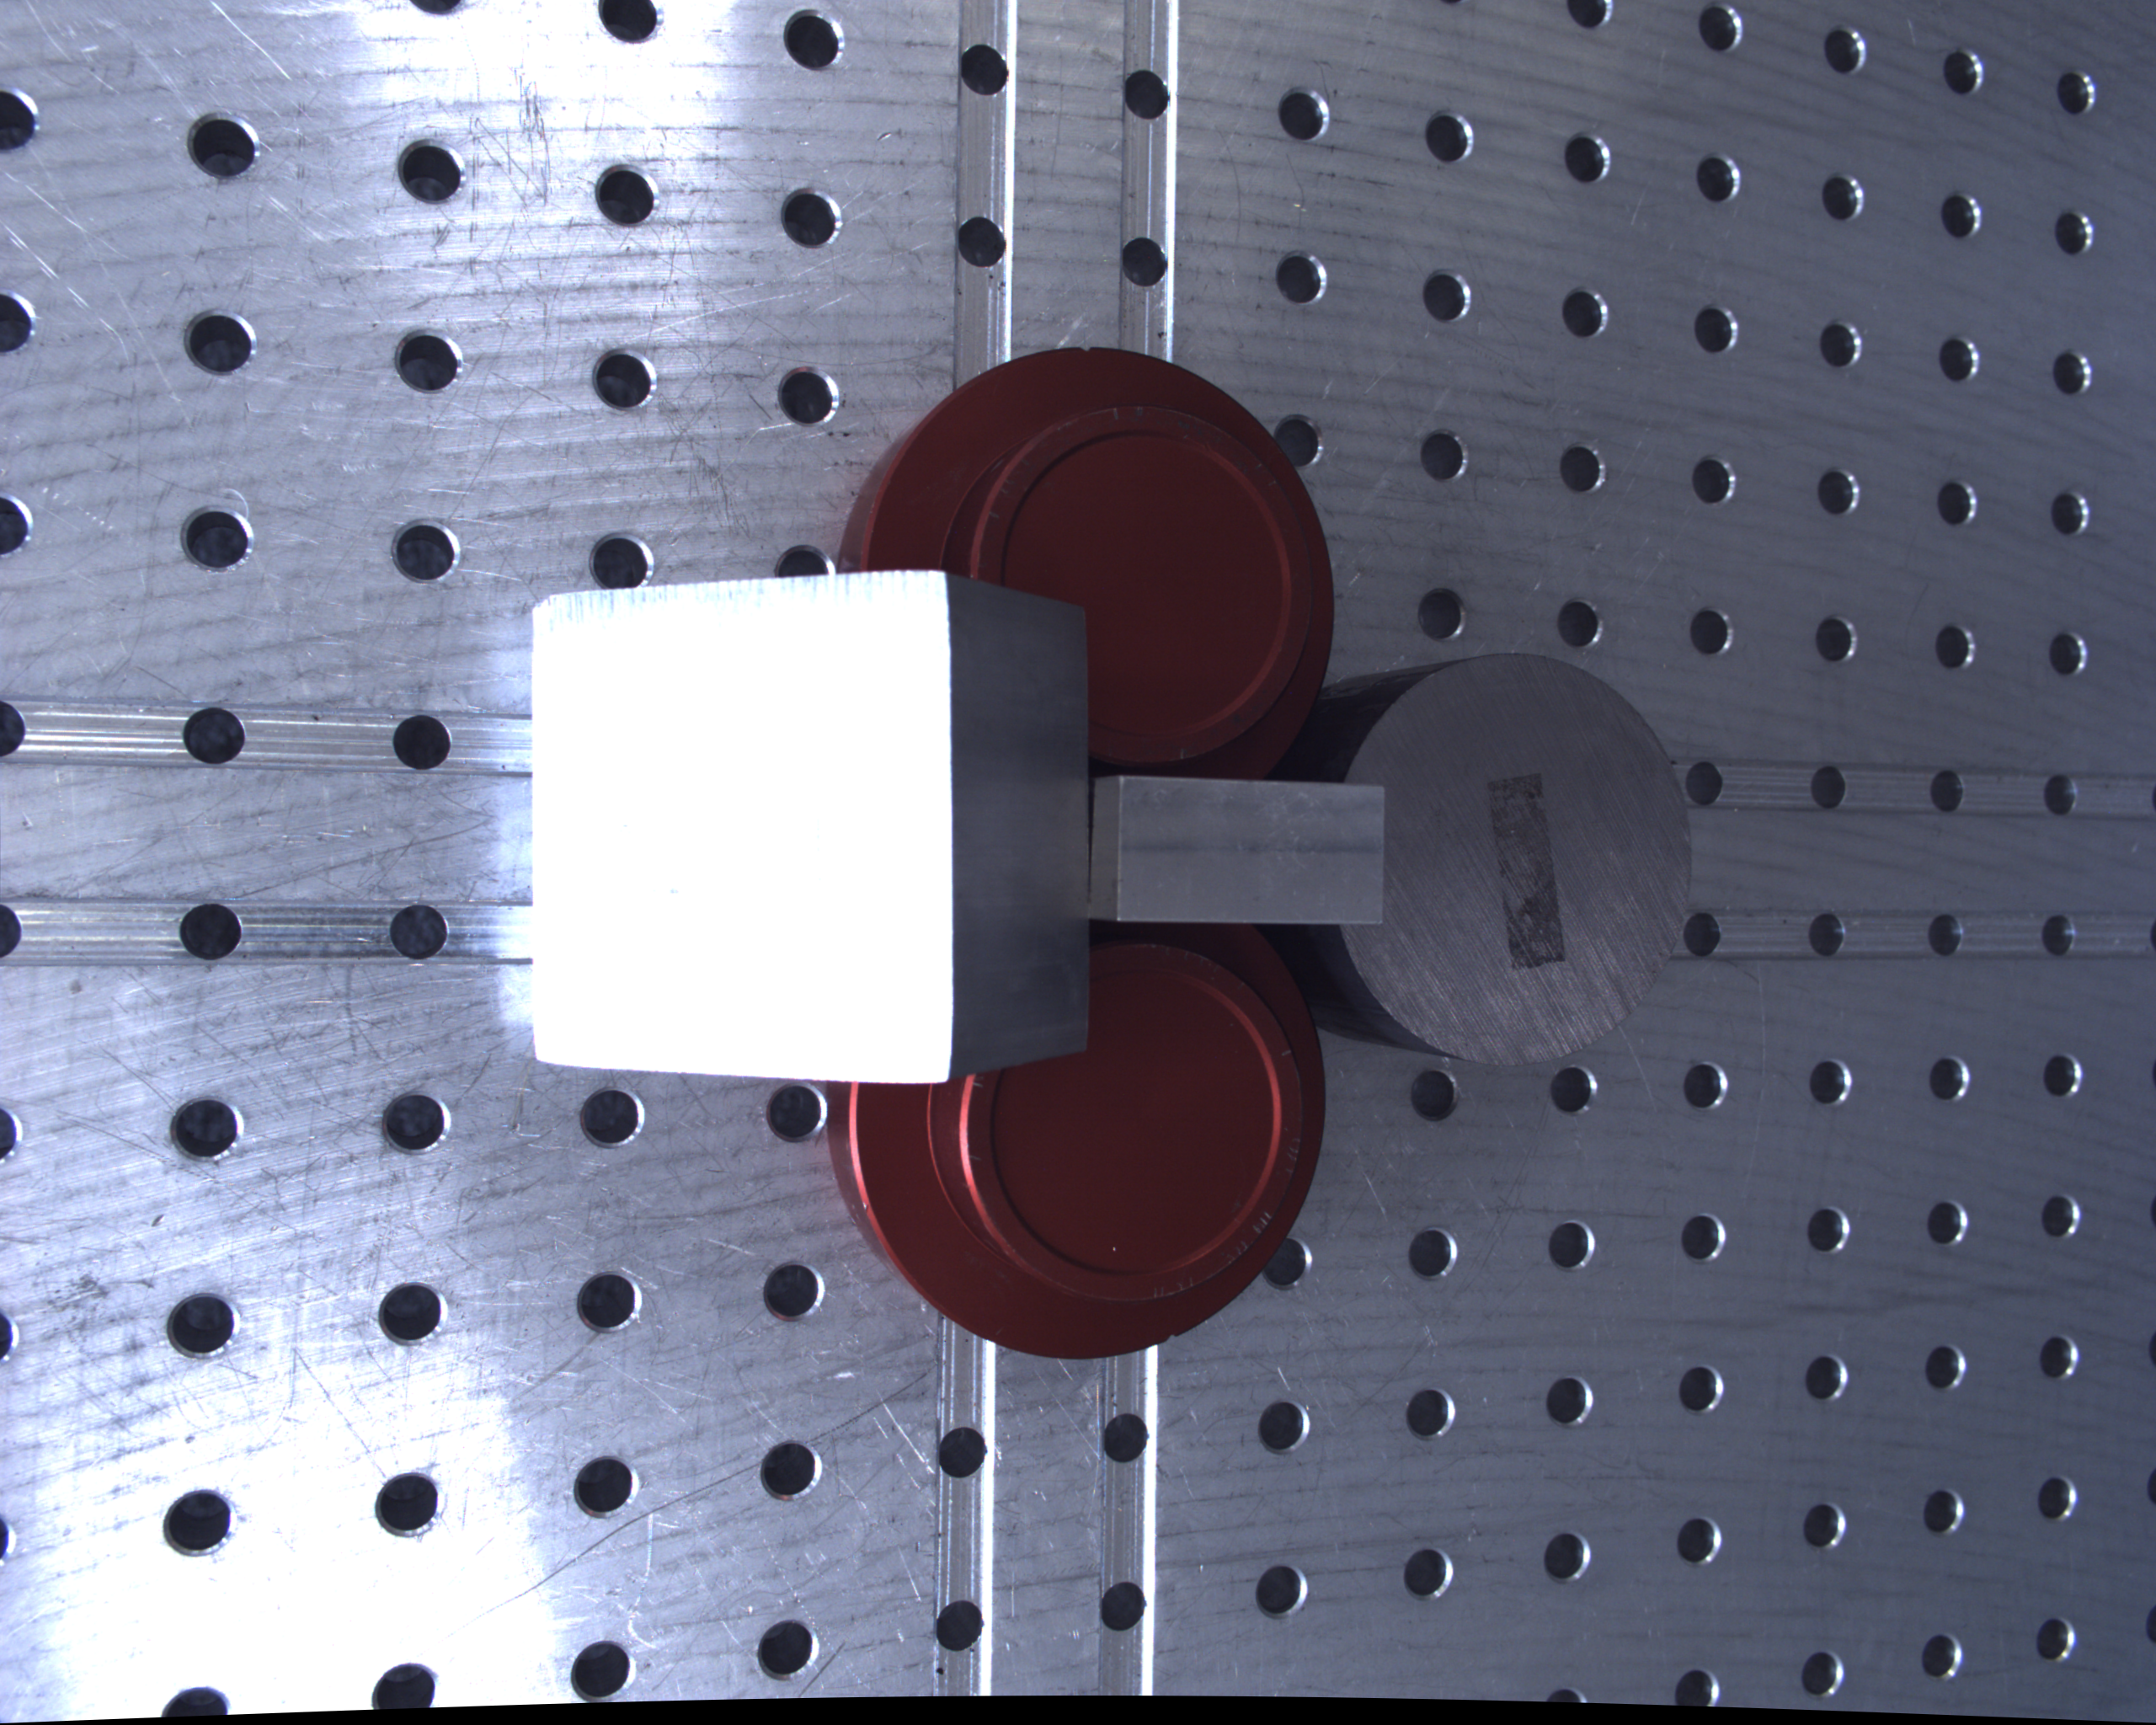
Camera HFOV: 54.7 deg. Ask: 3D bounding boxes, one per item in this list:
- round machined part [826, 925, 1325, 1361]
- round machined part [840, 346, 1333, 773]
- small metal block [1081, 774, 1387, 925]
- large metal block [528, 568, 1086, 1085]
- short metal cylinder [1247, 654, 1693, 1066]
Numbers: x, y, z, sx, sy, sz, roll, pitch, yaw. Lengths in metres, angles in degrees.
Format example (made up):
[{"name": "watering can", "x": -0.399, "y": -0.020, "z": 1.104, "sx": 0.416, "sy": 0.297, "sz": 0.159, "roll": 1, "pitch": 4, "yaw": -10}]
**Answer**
[{"name": "round machined part", "x": 0.004, "y": 0.048, "z": 0.405, "sx": 0.099, "sy": 0.042, "sz": 0.097, "roll": 0, "pitch": 90, "yaw": -20}, {"name": "round machined part", "x": 0.006, "y": -0.052, "z": 0.406, "sx": 0.099, "sy": 0.042, "sz": 0.097, "roll": 0, "pitch": 90, "yaw": -20}, {"name": "small metal block", "x": 0.022, "y": -0.002, "z": 0.384, "sx": 0.050, "sy": 0.050, "sz": 0.025, "roll": 1, "pitch": 90, "yaw": -20}, {"name": "large metal block", "x": -0.046, "y": -0.006, "z": 0.360, "sx": 0.050, "sy": 0.080, "sz": 0.080, "roll": -1, "pitch": 91, "yaw": -65}, {"name": "short metal cylinder", "x": 0.077, "y": -0.001, "z": 0.426, "sx": 0.081, "sy": 0.050, "sz": 0.080, "roll": 0, "pitch": 90, "yaw": -20}]
